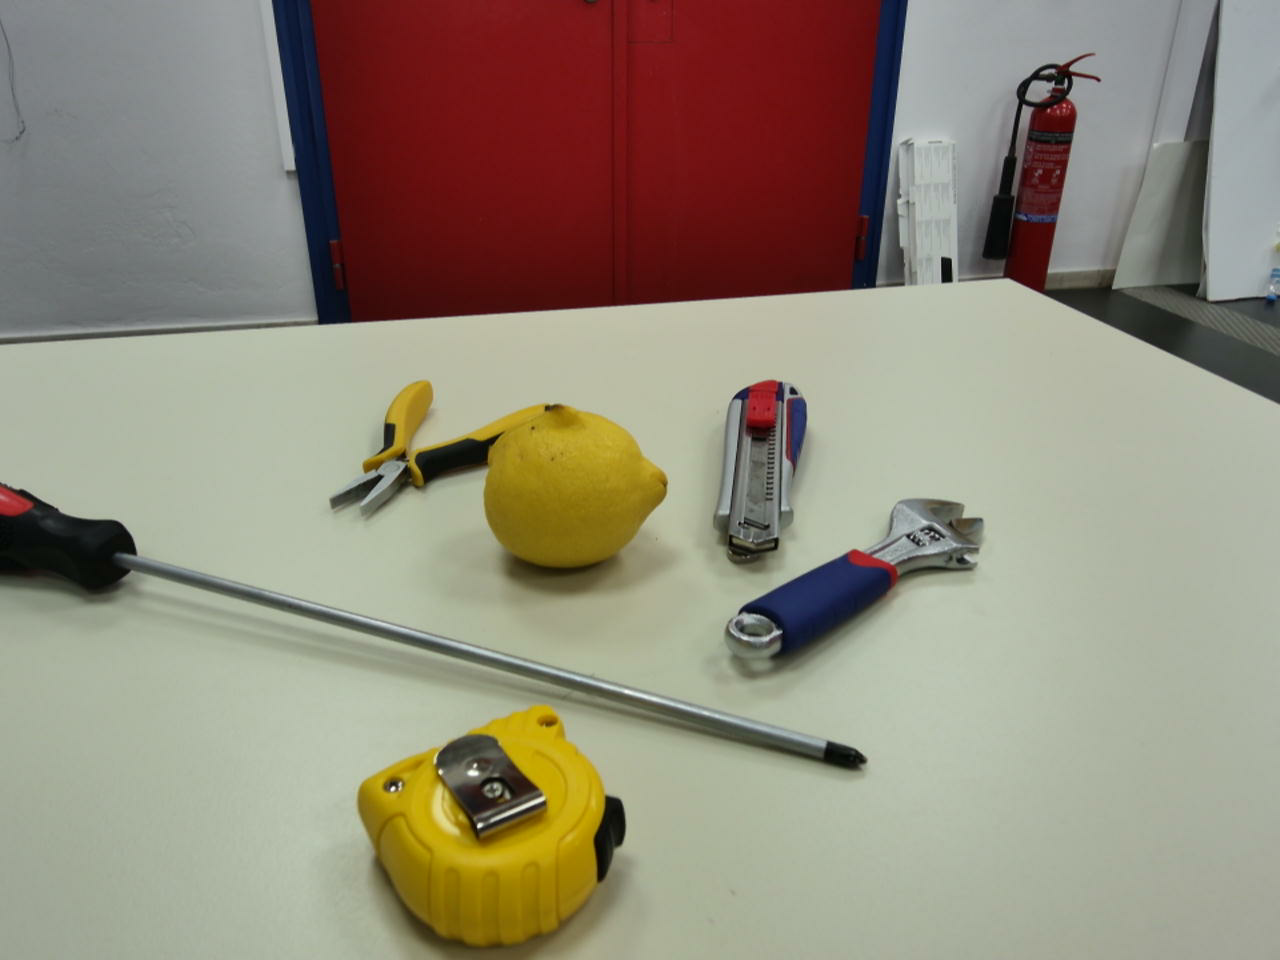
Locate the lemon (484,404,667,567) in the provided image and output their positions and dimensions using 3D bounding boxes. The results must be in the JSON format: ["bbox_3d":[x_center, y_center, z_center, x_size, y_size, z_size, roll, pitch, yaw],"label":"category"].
[{"bbox_3d":[-0.031,0.000,0.423,0.071,0.071,0.070,20,32,38],"label":"lemon"}]
